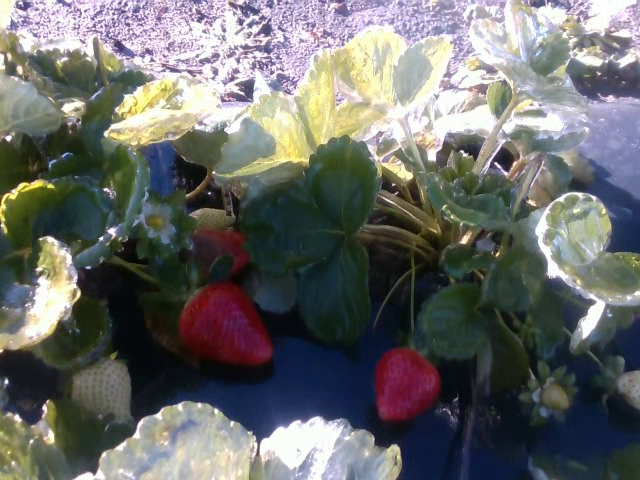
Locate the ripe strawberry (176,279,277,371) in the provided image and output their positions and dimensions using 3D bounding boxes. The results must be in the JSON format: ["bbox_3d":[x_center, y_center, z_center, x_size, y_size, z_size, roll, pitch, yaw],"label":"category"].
[{"bbox_3d":[-0.047,0.046,0.314,0.044,0.056,0.040,-44,-10,-21],"label":"ripe strawberry"}]

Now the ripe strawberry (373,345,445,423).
[{"bbox_3d":[0.042,0.074,0.300,0.039,0.047,0.040,32,-34,5],"label":"ripe strawberry"}]
